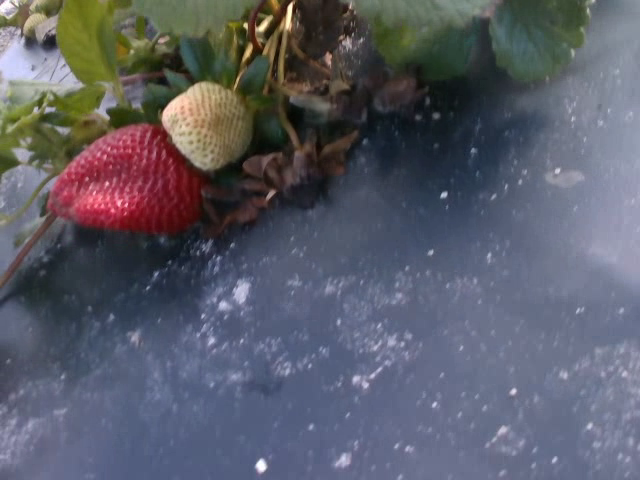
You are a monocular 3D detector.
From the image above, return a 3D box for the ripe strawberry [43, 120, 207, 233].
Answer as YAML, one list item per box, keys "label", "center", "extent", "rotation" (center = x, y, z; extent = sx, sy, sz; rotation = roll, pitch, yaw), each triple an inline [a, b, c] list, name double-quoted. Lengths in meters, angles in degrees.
- label: "ripe strawberry"
  center: [-0.081, -0.021, 0.245]
  extent: [0.070, 0.058, 0.057]
  rotation: [-20, -27, -40]
